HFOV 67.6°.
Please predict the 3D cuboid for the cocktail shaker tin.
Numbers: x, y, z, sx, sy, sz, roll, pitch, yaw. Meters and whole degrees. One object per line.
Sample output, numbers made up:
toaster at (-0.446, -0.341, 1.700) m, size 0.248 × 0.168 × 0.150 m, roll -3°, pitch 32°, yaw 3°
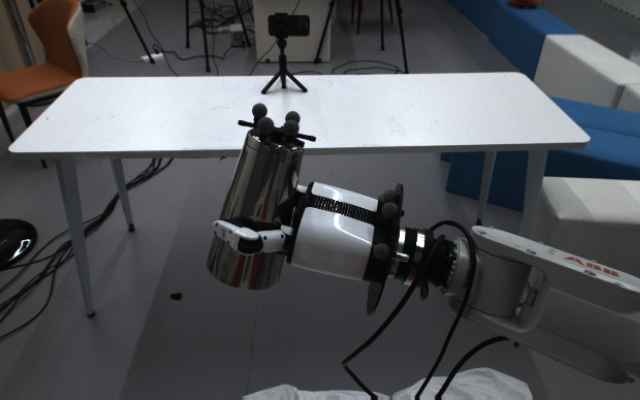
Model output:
cocktail shaker tin at (-0.070, 0.008, 0.567) m, size 0.093 × 0.170 × 0.093 m, roll 15°, pitch 20°, yaw -5°
